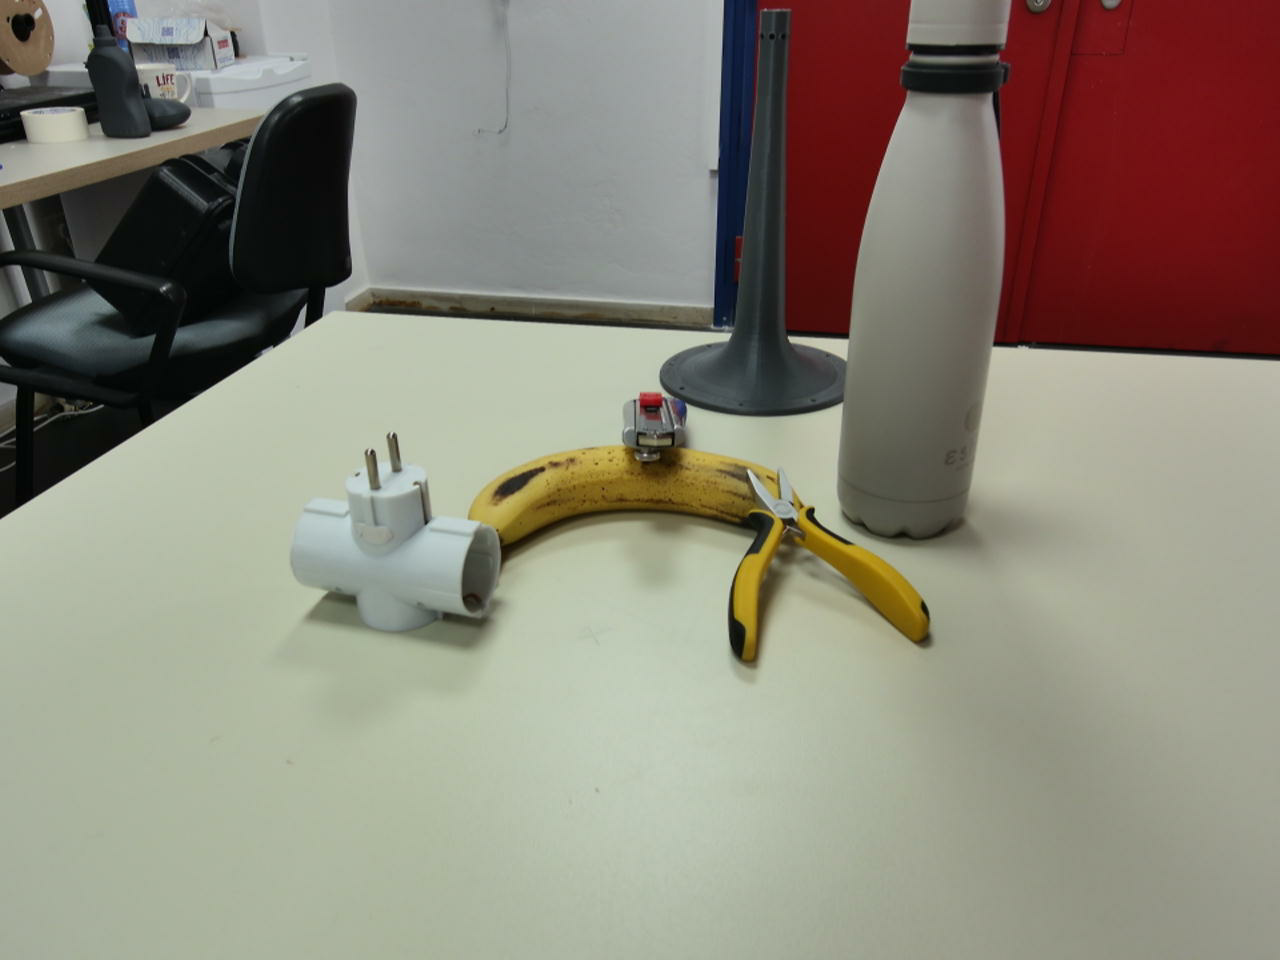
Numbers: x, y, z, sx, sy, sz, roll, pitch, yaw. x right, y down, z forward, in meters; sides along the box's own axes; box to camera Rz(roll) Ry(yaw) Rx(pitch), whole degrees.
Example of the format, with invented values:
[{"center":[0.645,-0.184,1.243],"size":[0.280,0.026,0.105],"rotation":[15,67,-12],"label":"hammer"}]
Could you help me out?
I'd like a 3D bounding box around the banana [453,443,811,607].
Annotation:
[{"center":[-0.009,0.012,0.550],"size":[0.186,0.038,0.097],"rotation":[-7,26,-14],"label":"banana"}]
